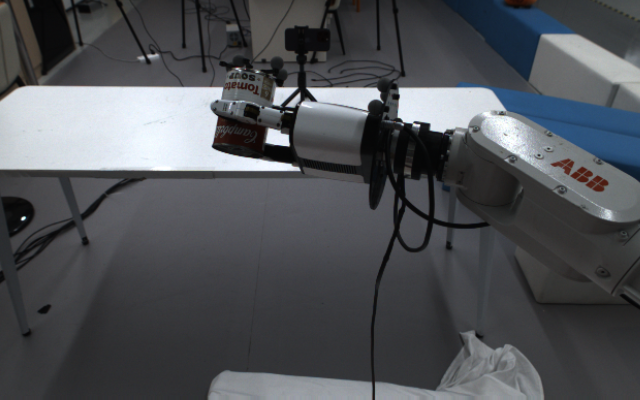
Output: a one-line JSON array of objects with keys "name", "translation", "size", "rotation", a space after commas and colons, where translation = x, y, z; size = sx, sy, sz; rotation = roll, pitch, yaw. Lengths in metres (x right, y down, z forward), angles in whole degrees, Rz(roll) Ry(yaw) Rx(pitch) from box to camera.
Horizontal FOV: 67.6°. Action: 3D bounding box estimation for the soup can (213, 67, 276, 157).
[{"name": "soup can", "translation": [-0.098, -0.111, 0.631], "size": [0.067, 0.101, 0.067], "rotation": [9, -5, 1]}]
